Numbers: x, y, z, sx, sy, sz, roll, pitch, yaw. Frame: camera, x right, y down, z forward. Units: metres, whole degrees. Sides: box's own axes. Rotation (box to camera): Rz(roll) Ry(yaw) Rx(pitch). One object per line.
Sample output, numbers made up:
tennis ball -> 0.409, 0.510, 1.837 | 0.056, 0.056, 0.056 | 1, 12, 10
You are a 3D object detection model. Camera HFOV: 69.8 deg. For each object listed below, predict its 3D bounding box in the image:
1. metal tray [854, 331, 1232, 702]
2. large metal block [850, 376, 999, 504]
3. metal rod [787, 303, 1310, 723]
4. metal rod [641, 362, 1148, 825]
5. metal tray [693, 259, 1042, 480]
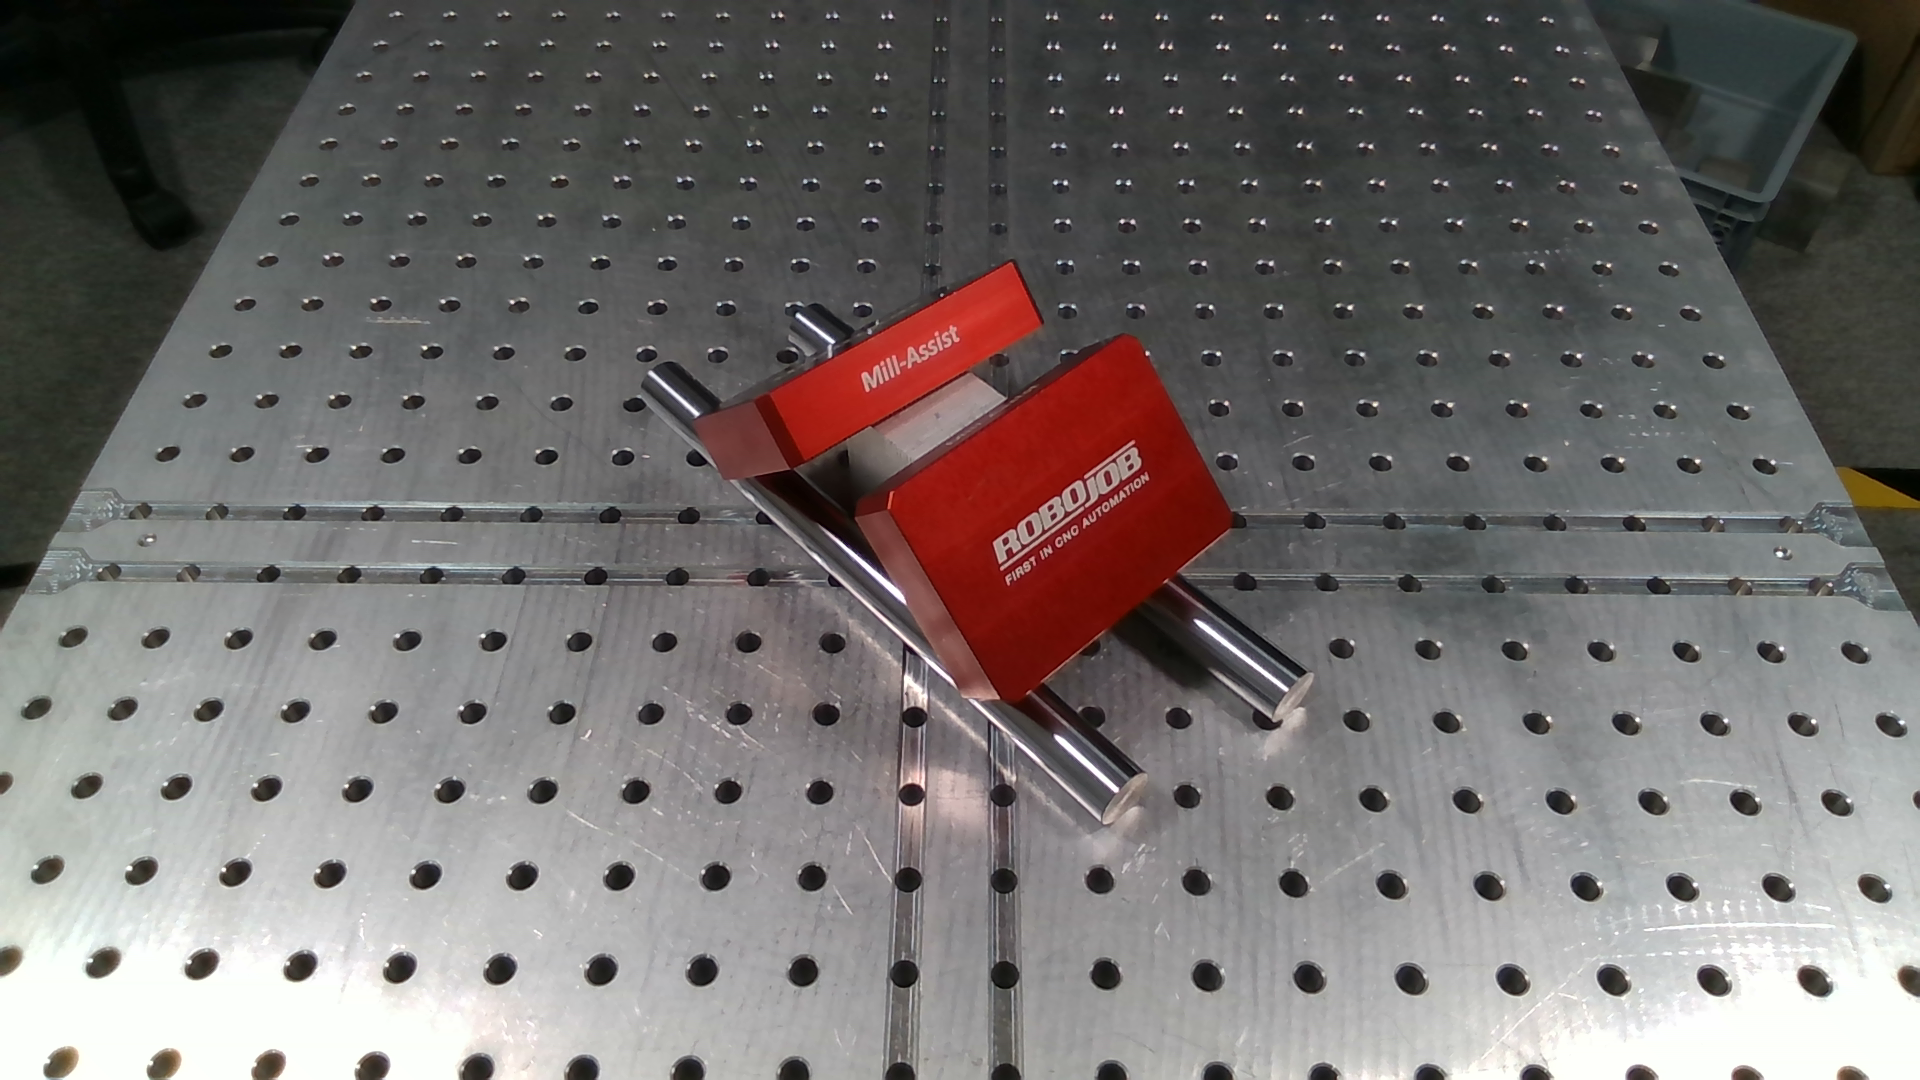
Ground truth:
metal tray -> 0.035, -0.010, 0.527 | 0.130, 0.030, 0.090 | -36, 103, -26
large metal block -> 0.000, -0.019, 0.569 | 0.050, 0.080, 0.080 | -35, 58, -26
metal rod -> 0.027, -0.022, 0.609 | 0.025, 0.025, 0.299 | -36, 59, -26
metal rod -> -0.040, 0.011, 0.581 | 0.025, 0.025, 0.299 | -35, 58, -26
metal tray -> -0.040, -0.071, 0.579 | 0.130, 0.030, 0.090 | -33, 14, -24
